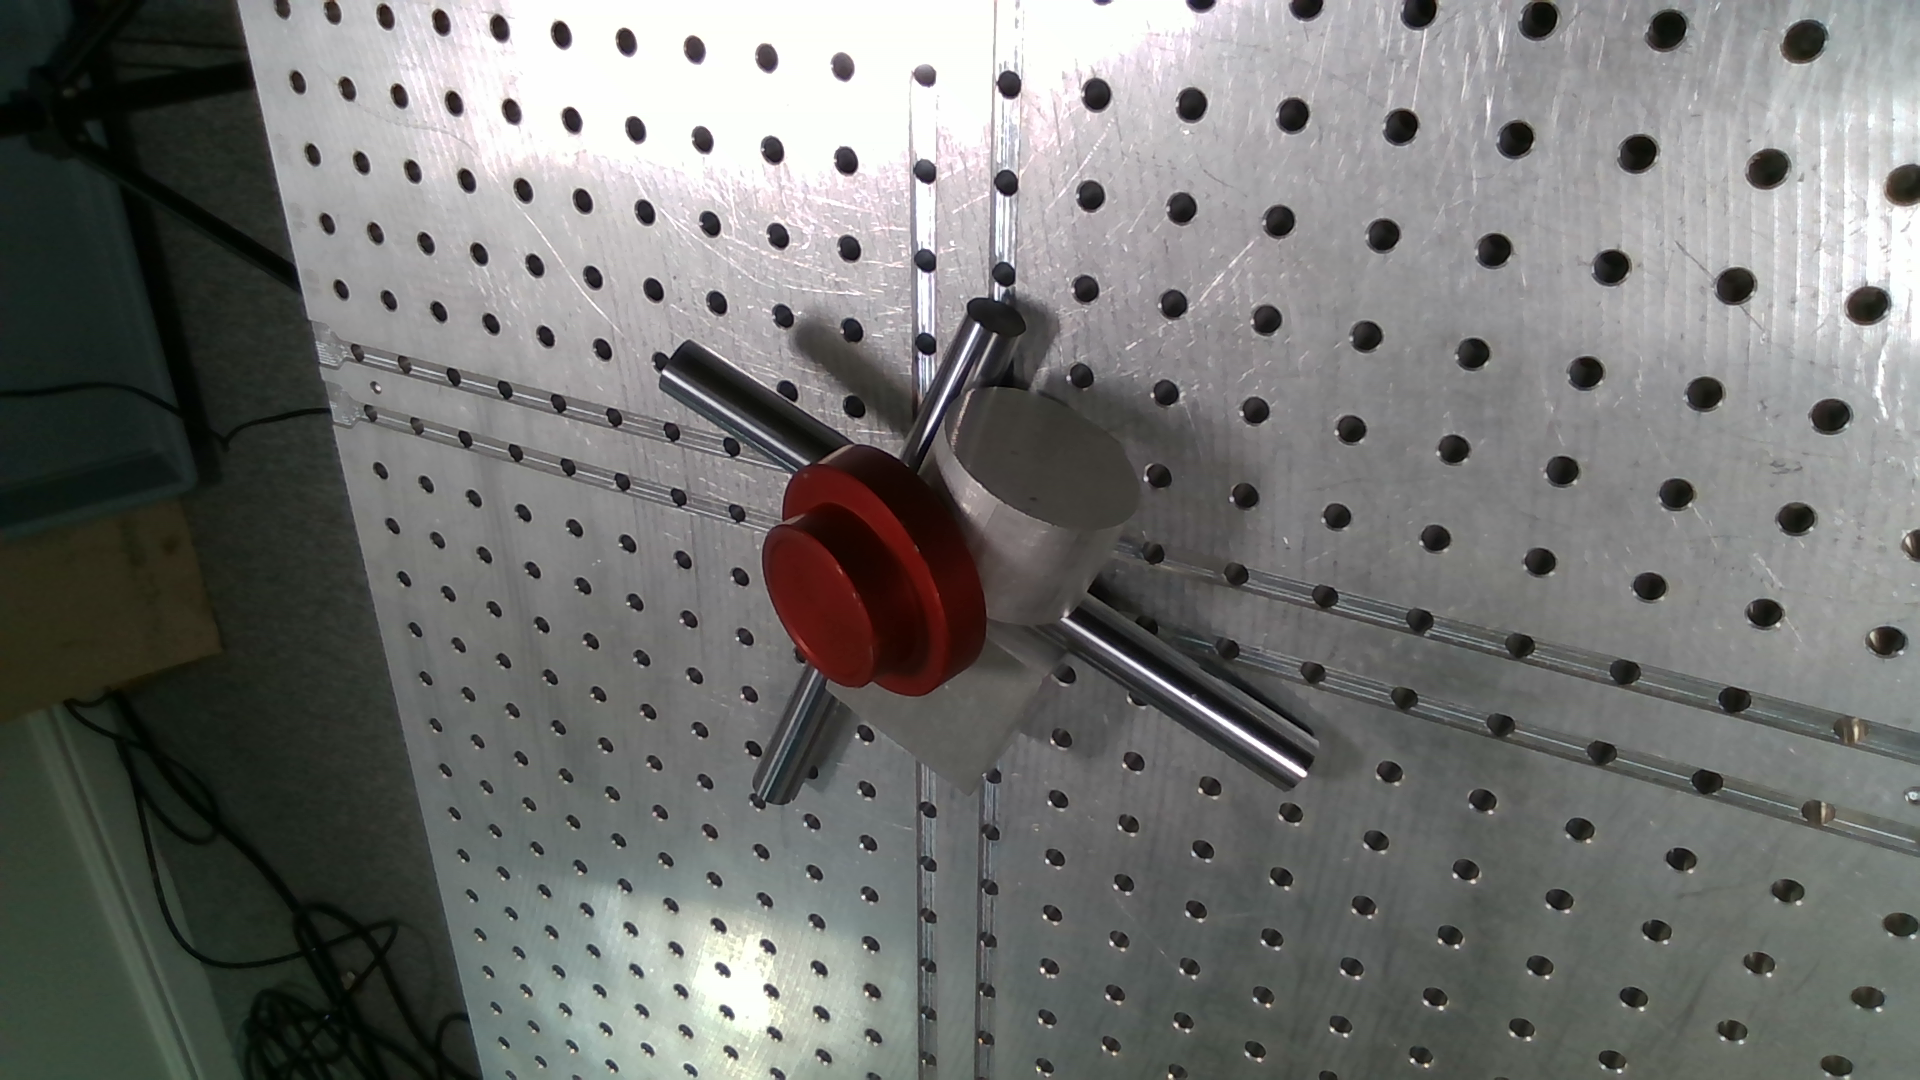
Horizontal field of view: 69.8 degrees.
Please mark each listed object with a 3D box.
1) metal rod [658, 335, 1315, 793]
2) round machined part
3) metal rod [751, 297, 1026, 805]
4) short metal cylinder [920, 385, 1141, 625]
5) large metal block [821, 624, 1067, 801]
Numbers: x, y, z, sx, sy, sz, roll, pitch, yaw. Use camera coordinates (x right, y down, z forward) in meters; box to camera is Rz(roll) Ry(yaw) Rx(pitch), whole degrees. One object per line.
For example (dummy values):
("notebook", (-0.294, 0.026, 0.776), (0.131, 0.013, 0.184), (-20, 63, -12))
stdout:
("metal rod", (0.009, 0.009, 0.557), (0.300, 0.025, 0.025), (33, 128, 3))
("round machined part", (-0.039, 0.017, 0.520), (0.098, 0.042, 0.098), (34, 140, 35))
("metal rod", (-0.041, 0.021, 0.619), (0.025, 0.025, 0.301), (35, 128, 10))
("short metal cylinder", (0.022, -0.014, 0.525), (0.080, 0.080, 0.050), (36, 128, 10))
("large metal block", (-0.002, 0.050, 0.591), (0.080, 0.050, 0.080), (36, 128, 10))
